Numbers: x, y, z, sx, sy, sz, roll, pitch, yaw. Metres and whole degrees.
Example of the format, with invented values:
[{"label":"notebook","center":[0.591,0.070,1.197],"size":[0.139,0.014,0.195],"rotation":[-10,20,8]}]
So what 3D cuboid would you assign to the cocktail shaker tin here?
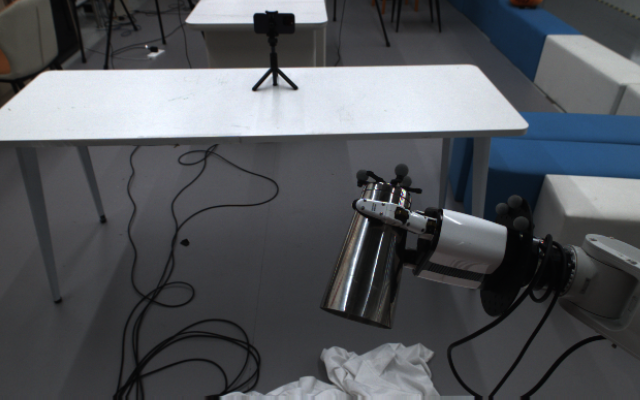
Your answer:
[{"label":"cocktail shaker tin","center":[0.068,0.066,0.619],"size":[0.093,0.093,0.170],"rotation":[12,72,14]}]
